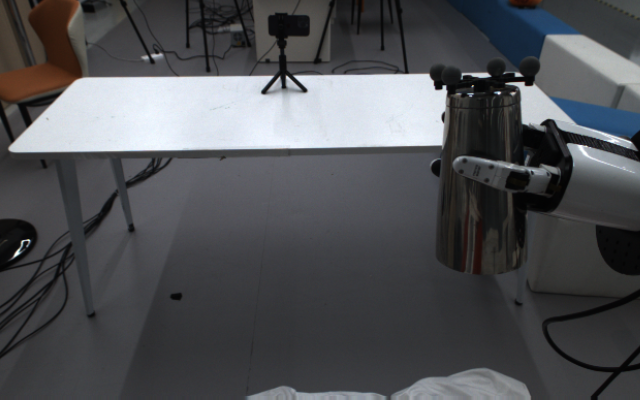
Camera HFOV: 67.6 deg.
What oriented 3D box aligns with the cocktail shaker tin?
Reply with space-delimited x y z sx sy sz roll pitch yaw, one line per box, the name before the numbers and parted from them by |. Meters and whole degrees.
cocktail shaker tin | 0.162 -0.022 0.482 0.093 0.170 0.093 -6 19 2
